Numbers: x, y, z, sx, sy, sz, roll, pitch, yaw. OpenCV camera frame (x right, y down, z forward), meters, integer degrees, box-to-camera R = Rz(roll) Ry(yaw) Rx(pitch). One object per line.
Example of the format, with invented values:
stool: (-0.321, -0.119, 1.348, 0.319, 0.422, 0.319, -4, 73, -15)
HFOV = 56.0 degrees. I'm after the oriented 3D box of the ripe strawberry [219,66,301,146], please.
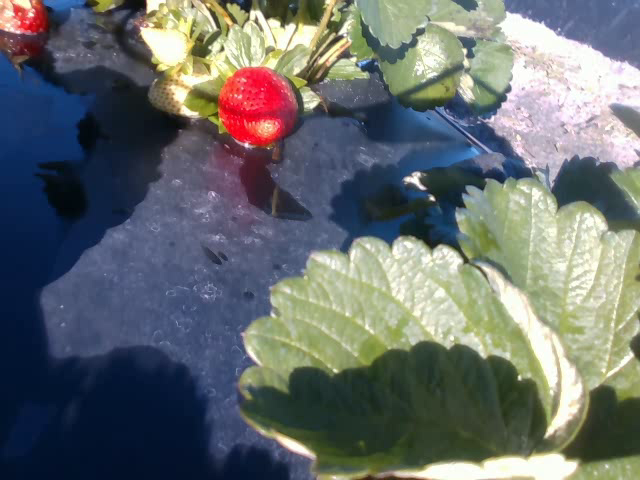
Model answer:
ripe strawberry: (-0.029, -0.063, 0.304, 0.049, 0.052, 0.064, -28, 37, -1)
